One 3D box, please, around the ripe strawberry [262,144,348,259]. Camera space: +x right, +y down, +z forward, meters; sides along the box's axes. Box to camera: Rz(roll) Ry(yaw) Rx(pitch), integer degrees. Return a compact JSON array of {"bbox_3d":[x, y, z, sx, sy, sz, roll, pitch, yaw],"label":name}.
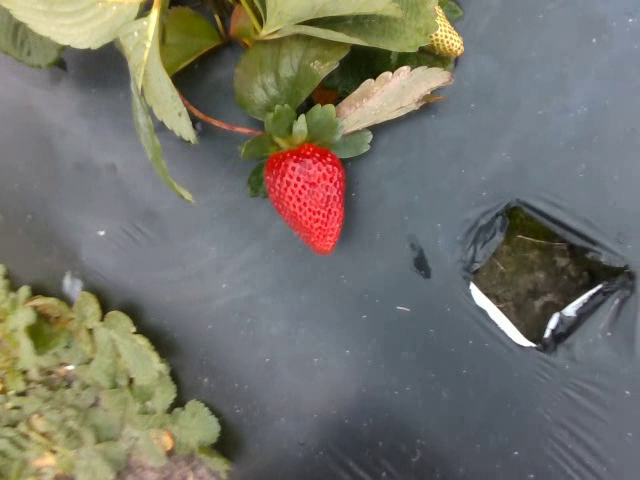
[{"bbox_3d":[-0.007,-0.019,0.308,0.049,0.064,0.046,-7,-17,-25],"label":"ripe strawberry"}]
